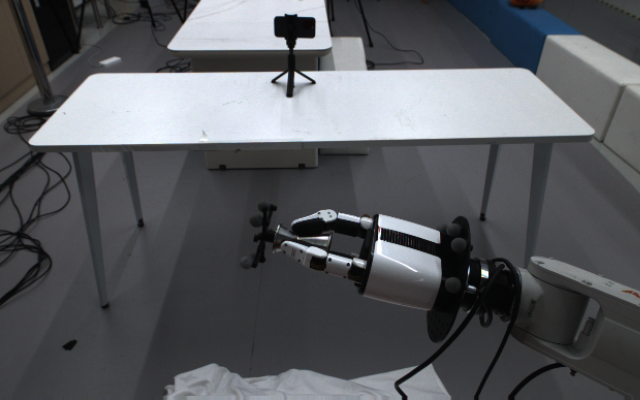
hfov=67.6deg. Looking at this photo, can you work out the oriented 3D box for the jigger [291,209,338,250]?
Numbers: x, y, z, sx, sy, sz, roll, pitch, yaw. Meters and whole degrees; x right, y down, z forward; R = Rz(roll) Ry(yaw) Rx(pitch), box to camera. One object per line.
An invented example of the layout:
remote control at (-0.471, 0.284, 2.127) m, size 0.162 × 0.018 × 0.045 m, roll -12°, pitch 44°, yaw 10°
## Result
jigger at (-0.015, 0.052, 0.609) m, size 0.071 × 0.043 × 0.043 m, roll 12°, pitch 36°, yaw 5°
